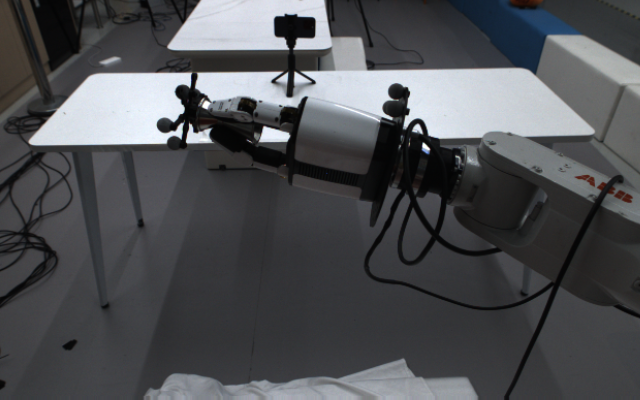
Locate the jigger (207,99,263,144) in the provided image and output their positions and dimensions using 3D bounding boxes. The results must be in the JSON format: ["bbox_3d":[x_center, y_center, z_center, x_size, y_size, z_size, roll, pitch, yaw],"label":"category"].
[{"bbox_3d":[-0.099,-0.095,0.558,0.071,0.043,0.043,13,36,4],"label":"jigger"}]
